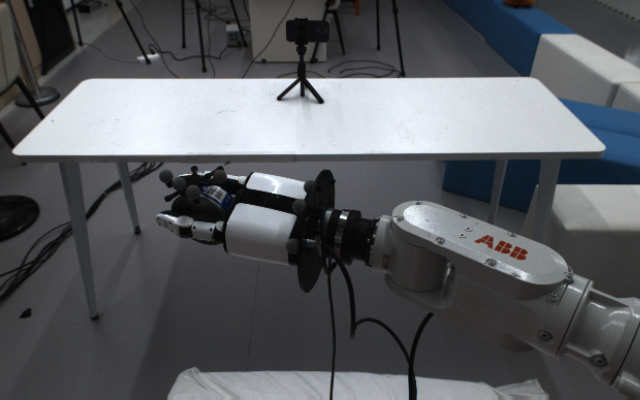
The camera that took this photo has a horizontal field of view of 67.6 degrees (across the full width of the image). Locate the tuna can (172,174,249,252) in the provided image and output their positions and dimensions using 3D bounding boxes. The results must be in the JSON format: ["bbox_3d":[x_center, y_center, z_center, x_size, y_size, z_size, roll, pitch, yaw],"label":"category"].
[{"bbox_3d":[-0.151,0.019,0.649,0.085,0.085,0.034,10,38,12],"label":"tuna can"}]
